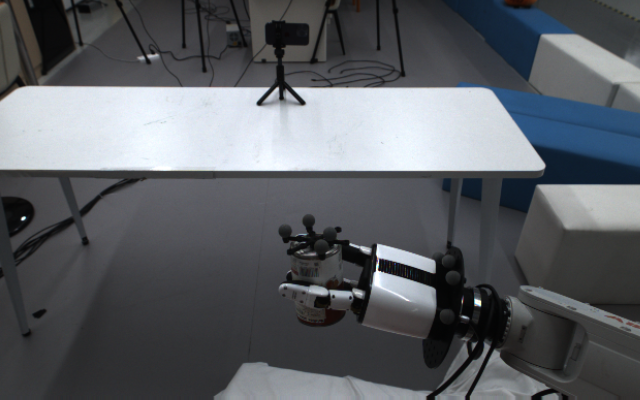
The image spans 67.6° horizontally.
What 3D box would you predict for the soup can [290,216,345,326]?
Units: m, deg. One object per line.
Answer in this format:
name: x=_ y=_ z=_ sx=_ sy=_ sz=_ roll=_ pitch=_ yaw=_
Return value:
soup can: x=0.000 y=0.103 z=0.628 sx=0.067 sy=0.101 sz=0.067 roll=-4 pitch=21 yaw=1
